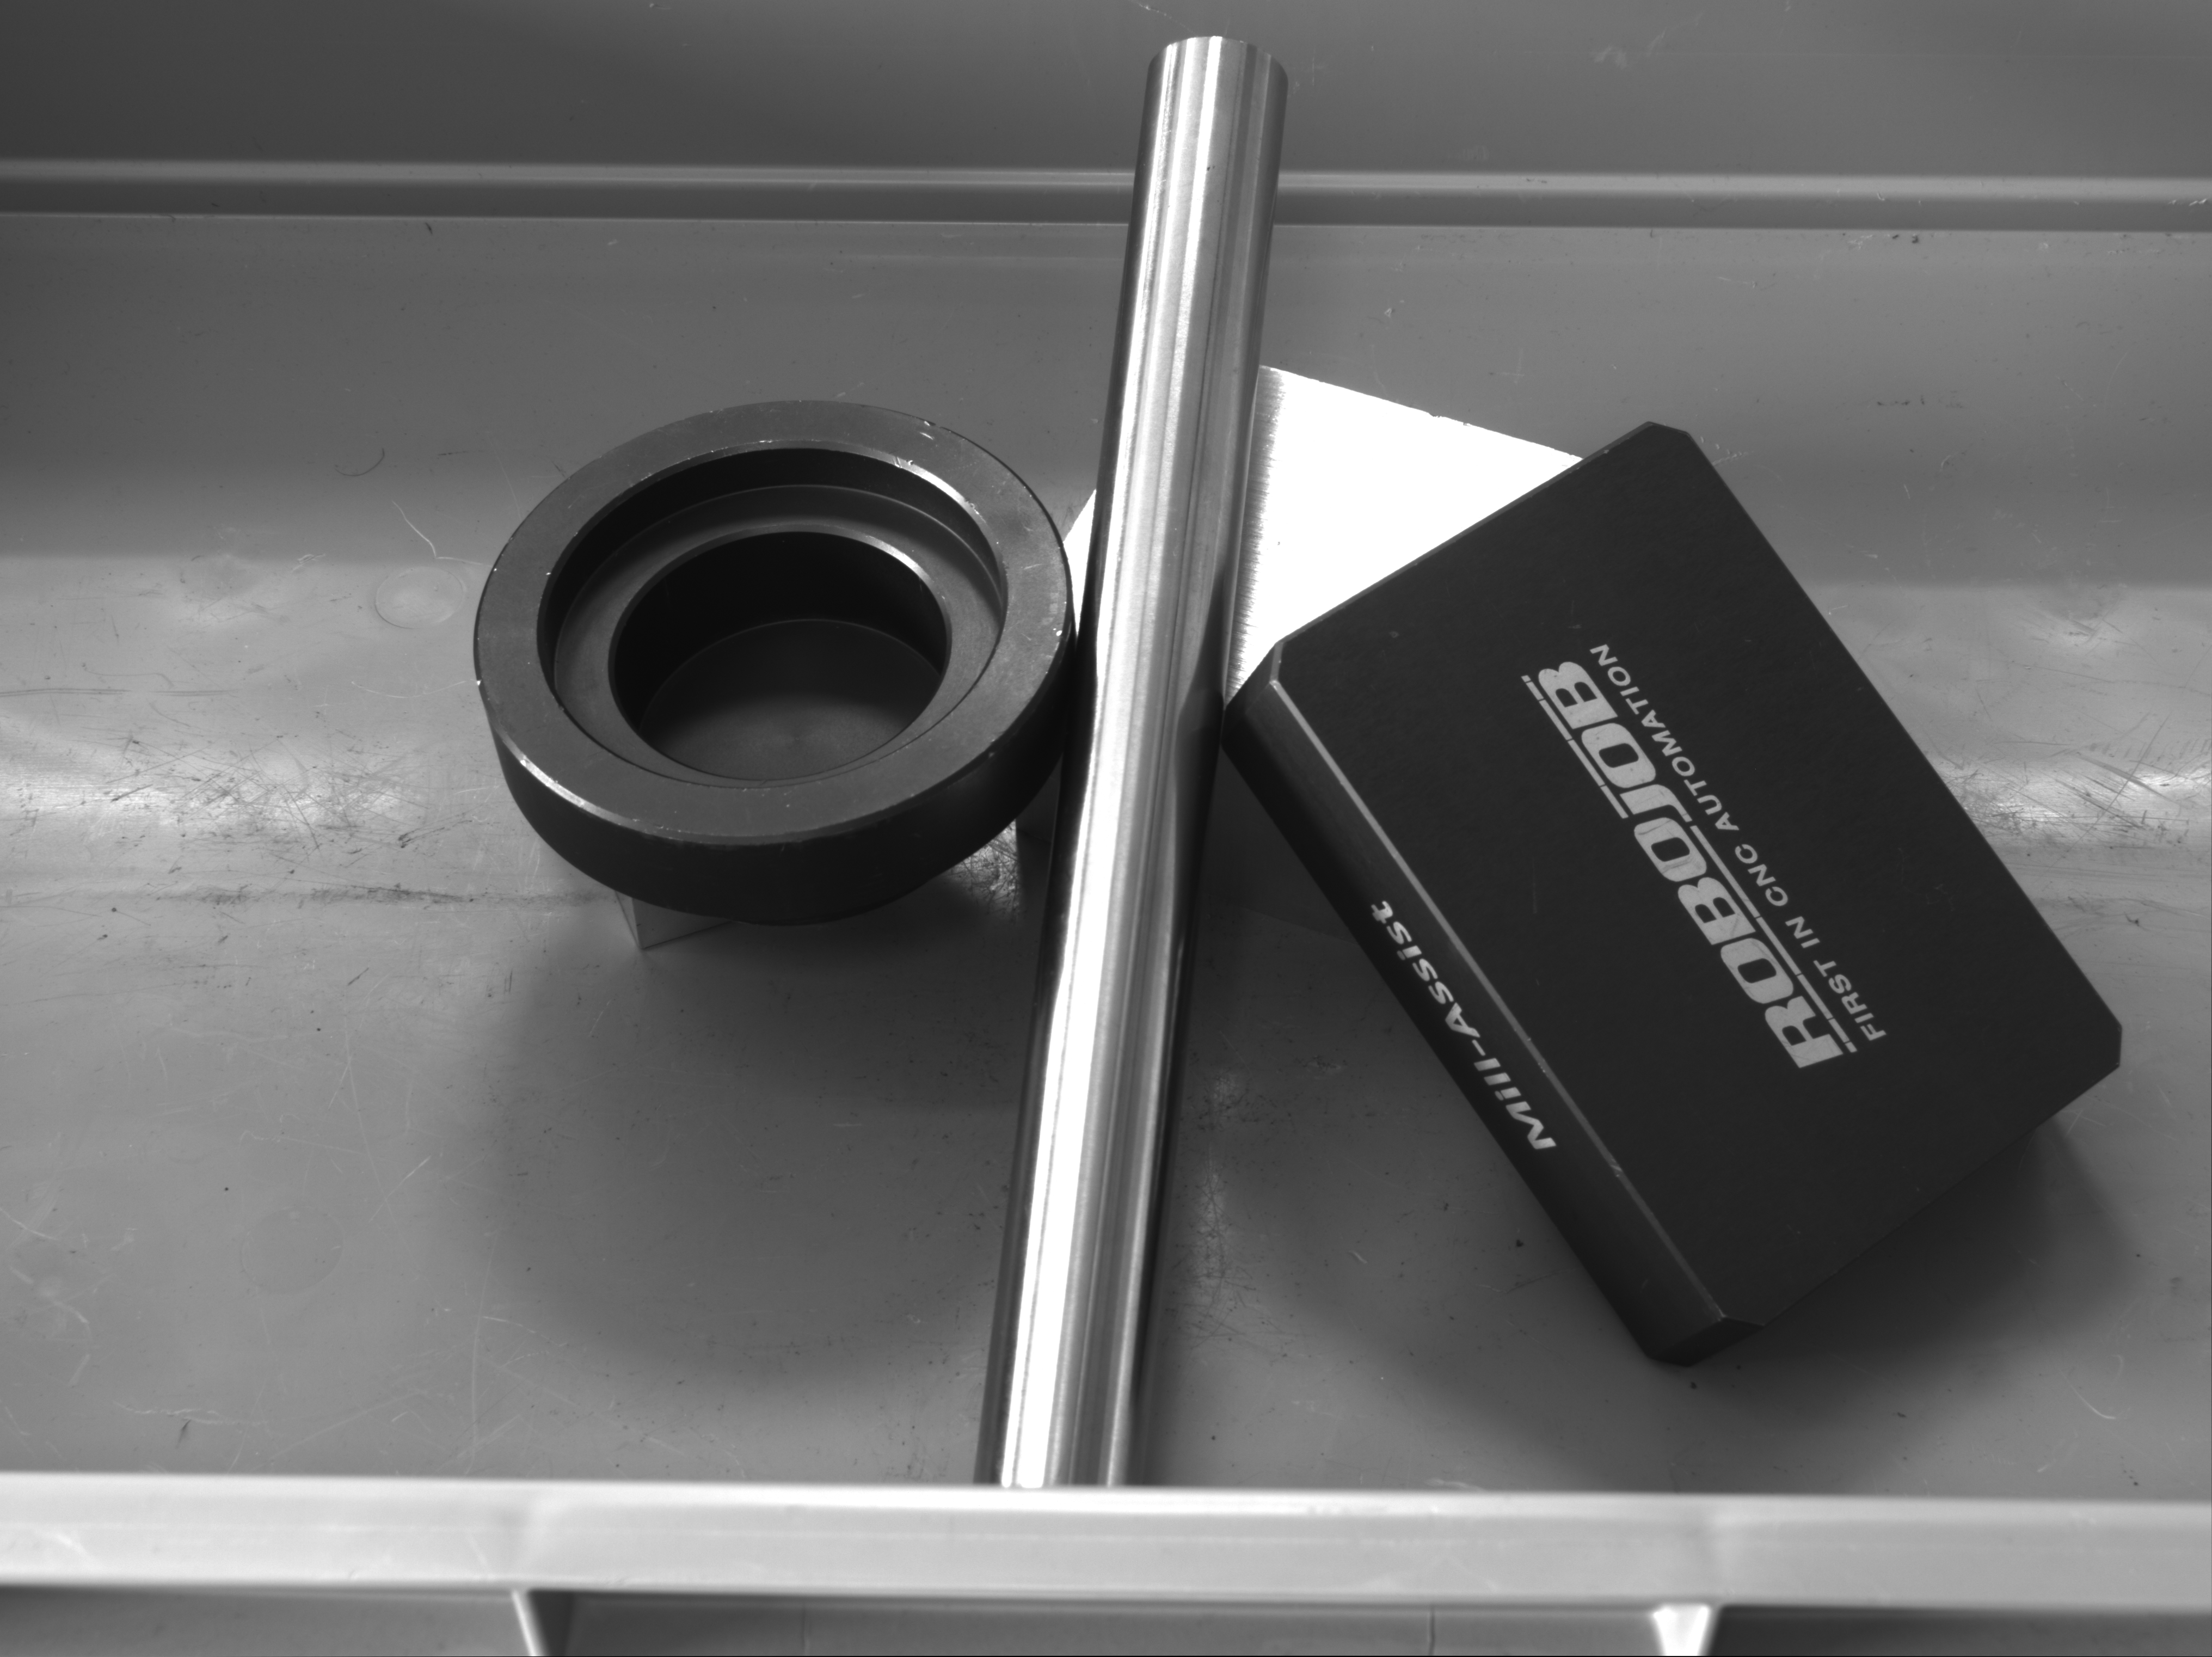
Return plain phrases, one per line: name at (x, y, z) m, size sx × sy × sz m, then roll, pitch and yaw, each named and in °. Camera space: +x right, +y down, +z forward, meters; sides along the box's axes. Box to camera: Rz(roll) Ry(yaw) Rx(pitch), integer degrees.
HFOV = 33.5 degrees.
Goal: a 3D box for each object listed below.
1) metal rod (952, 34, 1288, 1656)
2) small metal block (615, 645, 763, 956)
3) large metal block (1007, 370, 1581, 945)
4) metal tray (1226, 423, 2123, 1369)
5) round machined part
metal rod at (0.004, 0.004, 0.586) m, size 0.025 × 0.025 × 0.300 m, roll 5°, pitch 66°, yaw 4°
small metal block at (-0.067, -0.011, 0.651) m, size 0.050 × 0.025 × 0.050 m, roll -17°, pitch 52°, yaw -14°
large metal block at (0.035, -0.032, 0.652) m, size 0.080 × 0.050 × 0.080 m, roll 18°, pitch 52°, yaw 15°
metal tray at (0.092, 0.009, 0.597) m, size 0.090 × 0.030 × 0.130 m, roll -31°, pitch 81°, yaw -23°
round machined part at (-0.053, -0.023, 0.614) m, size 0.098 × 0.042 × 0.098 m, roll -2°, pitch 50°, yaw 2°
